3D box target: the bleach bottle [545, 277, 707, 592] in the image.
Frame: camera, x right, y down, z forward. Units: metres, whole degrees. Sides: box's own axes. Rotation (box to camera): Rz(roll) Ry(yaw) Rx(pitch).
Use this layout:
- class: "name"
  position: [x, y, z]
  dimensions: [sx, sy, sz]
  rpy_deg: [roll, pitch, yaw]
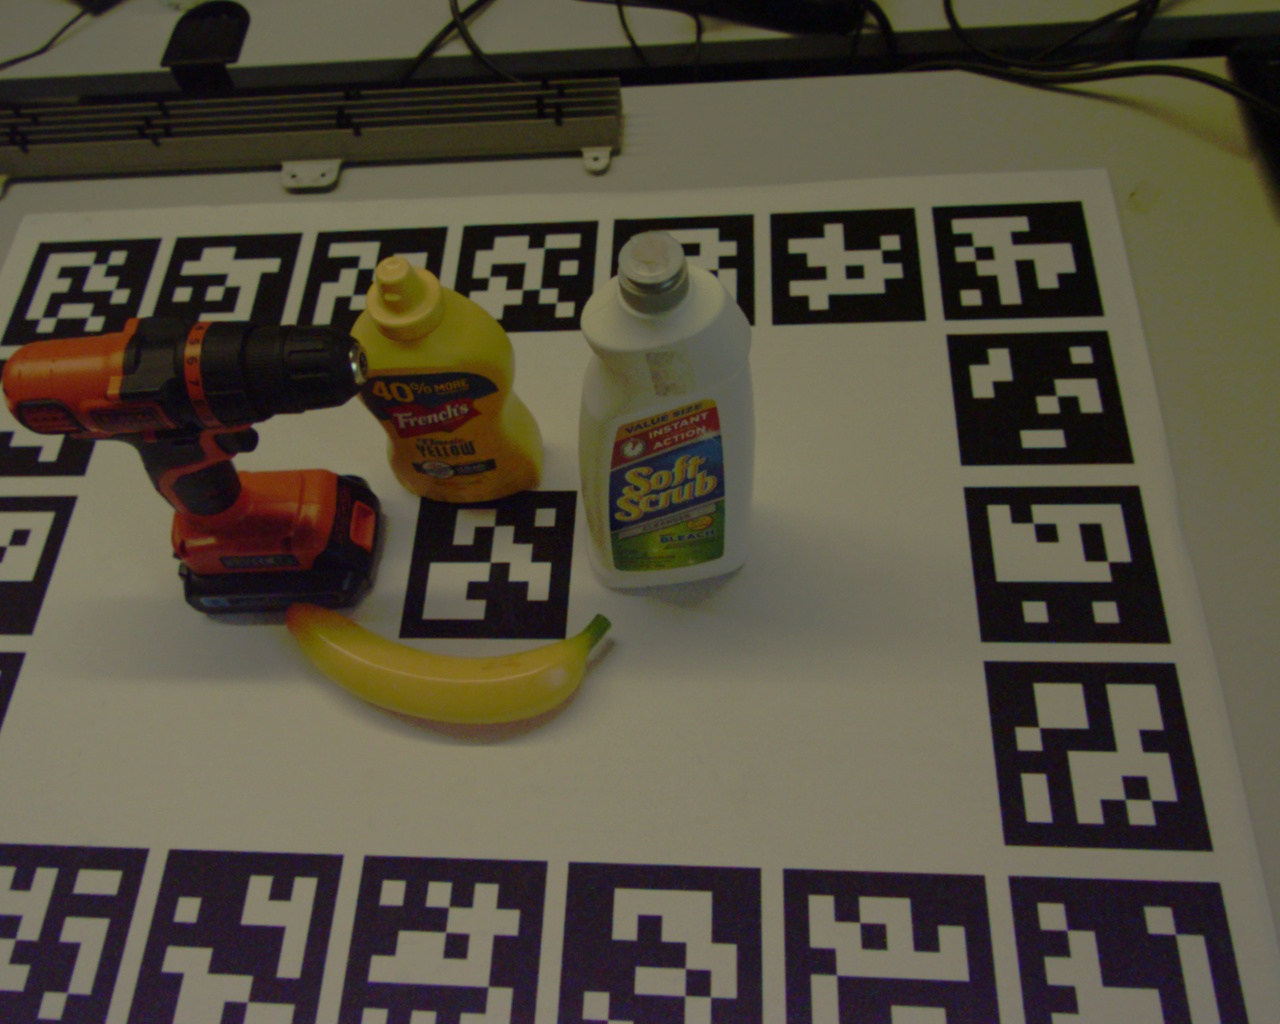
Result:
- class: "bleach bottle"
  position: [-0.014, -0.038, 0.633]
  dimensions: [0.102, 0.249, 0.068]
  rpy_deg: [-10, 62, 0]

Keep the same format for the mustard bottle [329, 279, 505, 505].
- class: "mustard bottle"
  position: [-0.143, -0.073, 0.690]
  dimensions: [0.096, 0.190, 0.058]
  rpy_deg: [-2, 61, 3]

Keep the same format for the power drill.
- class: "power drill"
  position: [-0.245, -0.024, 0.653]
  dimensions: [0.184, 0.186, 0.057]
  rpy_deg: [-4, 54, 0]

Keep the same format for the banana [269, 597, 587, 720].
- class: "banana"
  position: [-0.131, 0.088, 0.685]
  dimensions: [0.198, 0.038, 0.074]
  rpy_deg: [-1, 65, 8]
